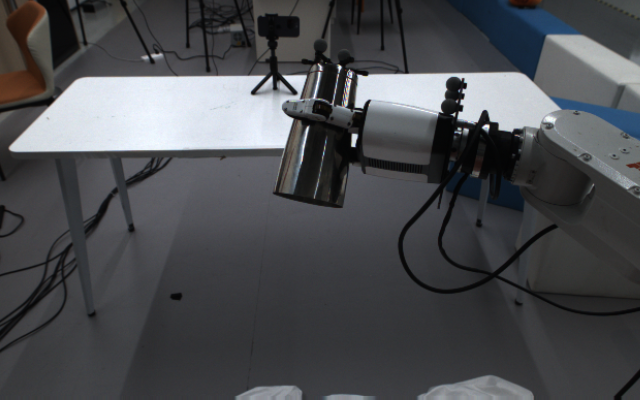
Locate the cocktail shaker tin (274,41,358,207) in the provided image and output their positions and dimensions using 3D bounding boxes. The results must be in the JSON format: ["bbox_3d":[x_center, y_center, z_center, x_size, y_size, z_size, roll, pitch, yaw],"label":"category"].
[{"bbox_3d":[0.002,-0.082,0.621,0.093,0.170,0.093,11,-5,1],"label":"cocktail shaker tin"}]
